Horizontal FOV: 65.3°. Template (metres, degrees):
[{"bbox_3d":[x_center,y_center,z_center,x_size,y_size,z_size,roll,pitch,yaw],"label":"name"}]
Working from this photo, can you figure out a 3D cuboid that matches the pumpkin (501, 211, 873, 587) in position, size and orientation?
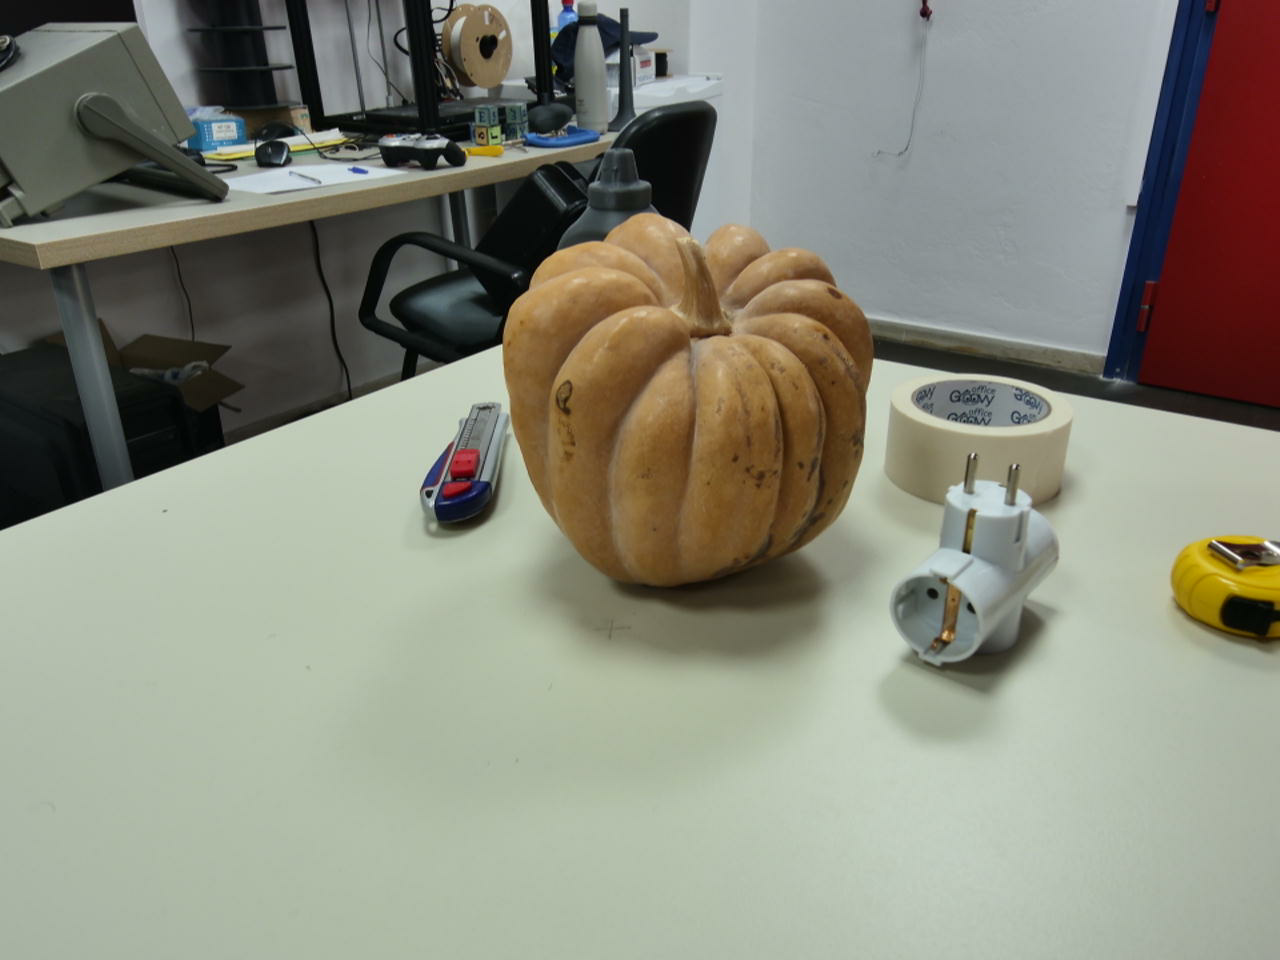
[{"bbox_3d":[0.023,-0.040,0.521,0.199,0.177,0.198,0,24,0],"label":"pumpkin"}]
